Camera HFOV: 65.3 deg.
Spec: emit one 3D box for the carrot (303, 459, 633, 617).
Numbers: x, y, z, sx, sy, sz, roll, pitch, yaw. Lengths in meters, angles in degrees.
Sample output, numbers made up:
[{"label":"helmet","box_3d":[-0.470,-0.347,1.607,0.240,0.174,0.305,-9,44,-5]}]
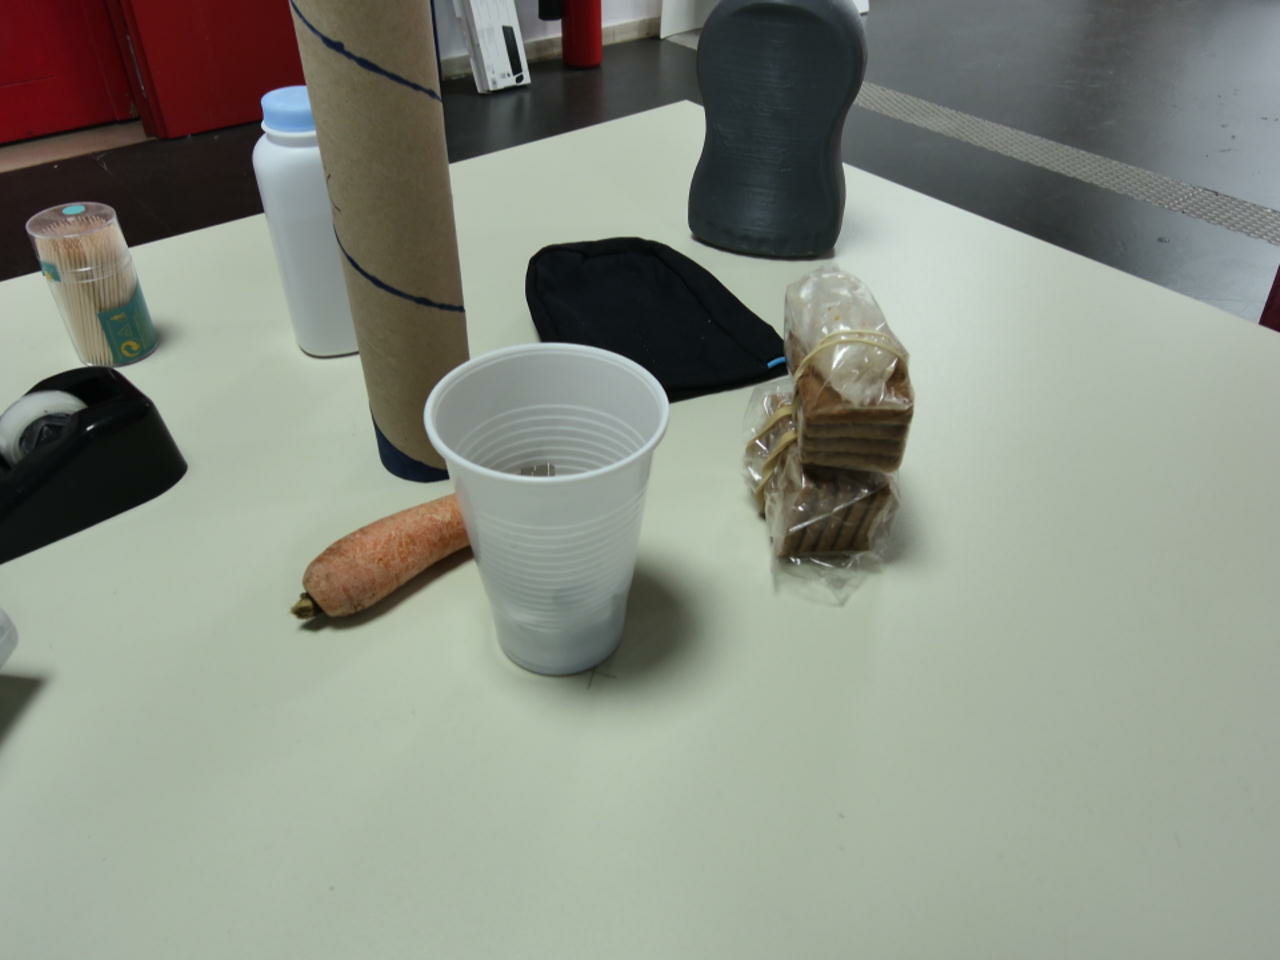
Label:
[{"label":"carrot","box_3d":[-0.072,0.015,0.436,0.163,0.029,0.031,-26,44,-31]}]
